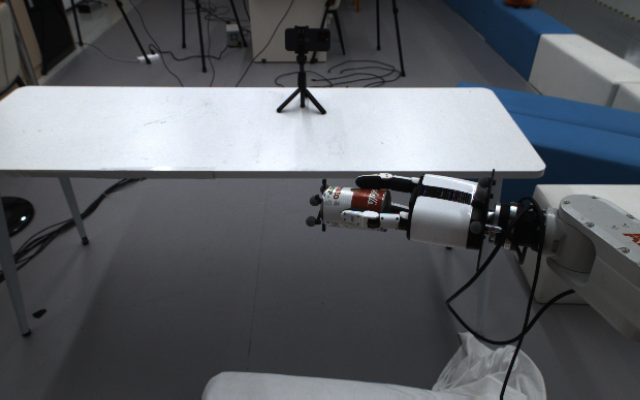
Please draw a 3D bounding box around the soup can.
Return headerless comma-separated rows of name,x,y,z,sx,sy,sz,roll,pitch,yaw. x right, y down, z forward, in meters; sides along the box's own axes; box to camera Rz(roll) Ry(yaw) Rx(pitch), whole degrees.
soup can,0.061,0.014,0.787,0.101,0.067,0.067,5,34,18
